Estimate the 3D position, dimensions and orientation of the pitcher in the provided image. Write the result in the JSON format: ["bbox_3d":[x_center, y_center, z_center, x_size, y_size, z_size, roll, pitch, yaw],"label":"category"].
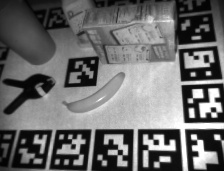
[{"bbox_3d":[-0.295,-0.174,0.617,0.188,0.245,0.132,-14,62,7],"label":"pitcher"}]

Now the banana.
[{"bbox_3d":[-0.068,0.035,0.610,0.197,0.039,0.073,-28,61,1],"label":"banana"}]

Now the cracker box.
[{"bbox_3d":[0.036,-0.105,0.550,0.212,0.166,0.072,4,64,19],"label":"cracker box"}]

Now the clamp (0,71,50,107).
[{"bbox_3d":[-0.275,-0.002,0.674,0.164,0.037,0.121,-11,62,8],"label":"clamp"}]

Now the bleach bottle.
[{"bbox_3d":[-0.105,-0.193,0.597,0.102,0.253,0.068,3,66,18],"label":"bleach bottle"}]
